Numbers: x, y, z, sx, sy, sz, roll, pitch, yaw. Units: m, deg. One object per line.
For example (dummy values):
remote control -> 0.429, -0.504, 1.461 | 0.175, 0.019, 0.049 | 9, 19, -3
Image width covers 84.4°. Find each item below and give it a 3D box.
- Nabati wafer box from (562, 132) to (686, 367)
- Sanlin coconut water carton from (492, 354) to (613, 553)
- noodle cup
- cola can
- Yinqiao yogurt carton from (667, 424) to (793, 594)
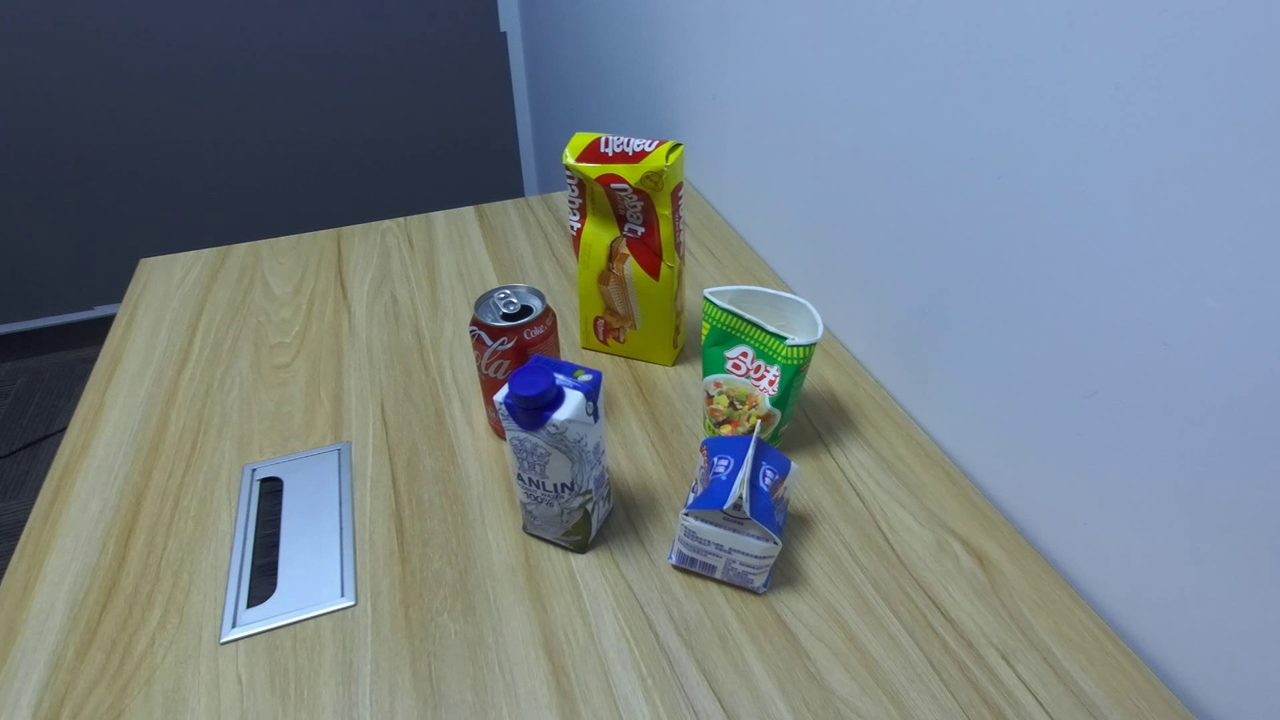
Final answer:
Nabati wafer box -> -0.014, -0.092, 0.608 | 0.106, 0.204, 0.042 | 13, 41, 17
Sanlin coconut water carton -> -0.054, 0.059, 0.471 | 0.060, 0.144, 0.061 | 14, 39, 21
noodle cup -> 0.089, 0.011, 0.550 | 0.075, 0.122, 0.082 | -2, 29, -14
cola can -> -0.096, 0.003, 0.563 | 0.068, 0.120, 0.067 | -1, 38, 1
Yinqiao yogurt carton -> 0.064, 0.091, 0.465 | 0.071, 0.094, 0.077 | 14, 42, 12
